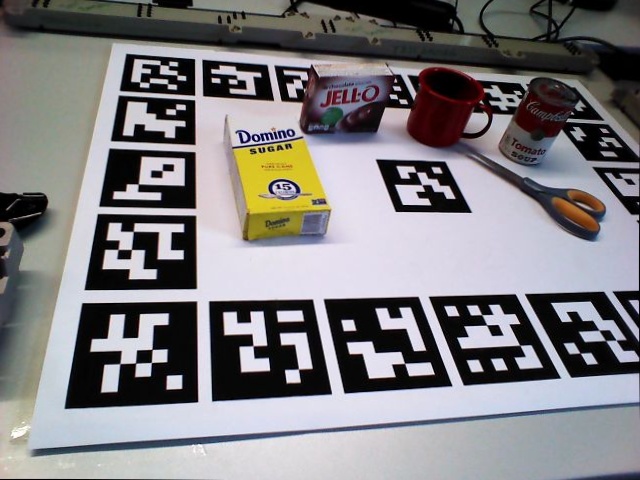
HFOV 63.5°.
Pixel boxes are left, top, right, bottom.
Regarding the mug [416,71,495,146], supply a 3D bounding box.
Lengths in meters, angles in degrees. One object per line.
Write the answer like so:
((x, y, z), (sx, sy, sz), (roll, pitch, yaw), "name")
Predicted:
((0.191, -0.180, 0.722), (0.093, 0.082, 0.117), (-33, 62, -31), "mug")

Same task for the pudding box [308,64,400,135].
((0.047, -0.187, 0.685), (0.113, 0.090, 0.038), (-7, 58, -18), "pudding box")

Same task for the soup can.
((0.310, -0.151, 0.718), (0.068, 0.102, 0.067), (6, 48, -7), "soup can")

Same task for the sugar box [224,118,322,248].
((-0.059, -0.072, 0.602), (0.093, 0.045, 0.175), (-3, 52, -13), "sugar box")

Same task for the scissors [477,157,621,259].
((0.295, -0.056, 0.679), (0.203, 0.016, 0.087), (38, 62, 18), "scissors")
